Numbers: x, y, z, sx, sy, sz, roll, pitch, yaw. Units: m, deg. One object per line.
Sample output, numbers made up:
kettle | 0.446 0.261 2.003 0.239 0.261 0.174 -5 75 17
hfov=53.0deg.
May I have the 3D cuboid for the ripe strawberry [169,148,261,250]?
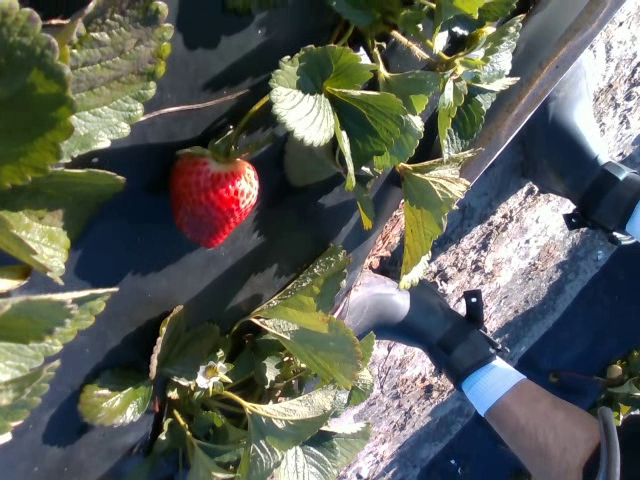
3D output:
ripe strawberry | -0.047 -0.020 0.275 0.044 0.056 0.042 16 21 -1
